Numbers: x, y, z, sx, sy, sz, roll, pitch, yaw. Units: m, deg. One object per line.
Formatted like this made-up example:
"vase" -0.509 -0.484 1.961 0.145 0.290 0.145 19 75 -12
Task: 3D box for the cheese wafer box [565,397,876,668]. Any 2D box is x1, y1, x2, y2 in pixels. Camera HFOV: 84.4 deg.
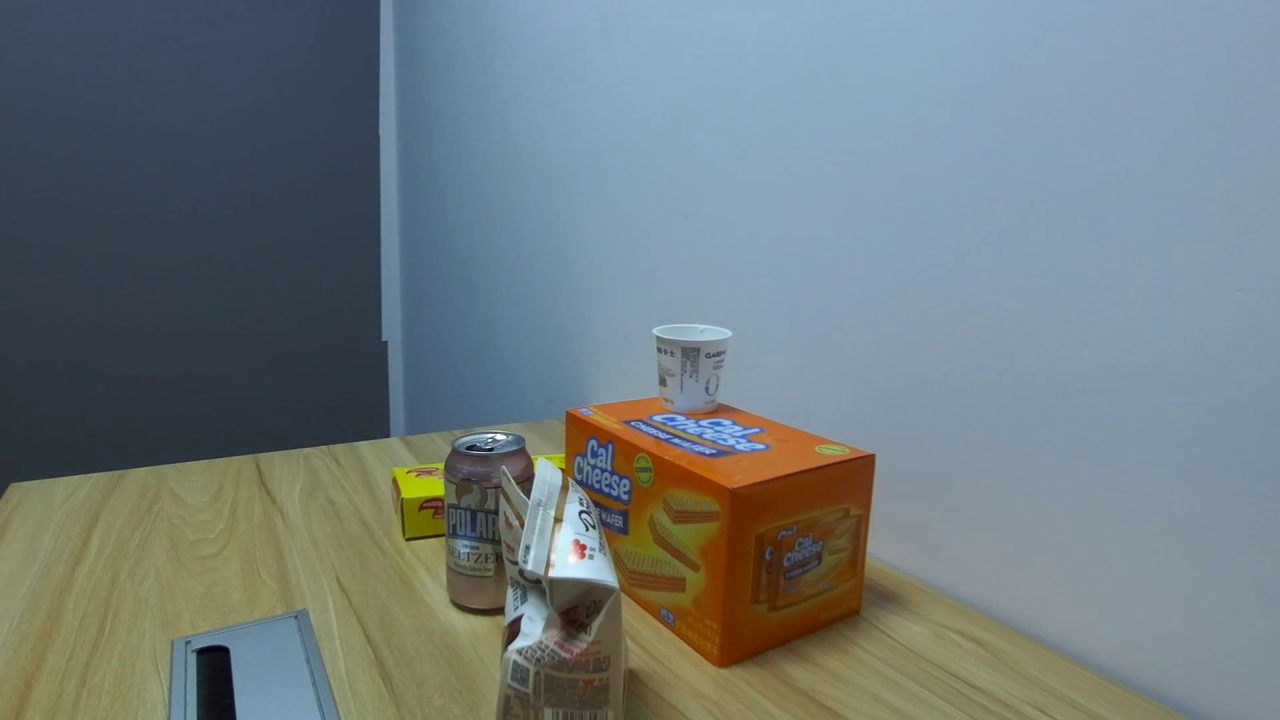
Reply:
"cheese wafer box" 0.053 0.118 0.578 0.149 0.129 0.221 -6 14 -34

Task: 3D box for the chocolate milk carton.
"chocolate milk carton" -0.047 0.139 0.407 0.077 0.155 0.089 -2 24 0

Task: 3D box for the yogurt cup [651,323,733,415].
"yogurt cup" 0.045 0.008 0.632 0.072 0.068 0.072 2 14 0

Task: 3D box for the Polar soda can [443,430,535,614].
"Polar soda can" -0.115 0.122 0.542 0.067 0.125 0.067 2 10 0

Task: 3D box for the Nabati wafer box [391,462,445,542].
"Nabati wafer box" -0.141 0.131 0.714 0.204 0.042 0.096 -4 9 -21
